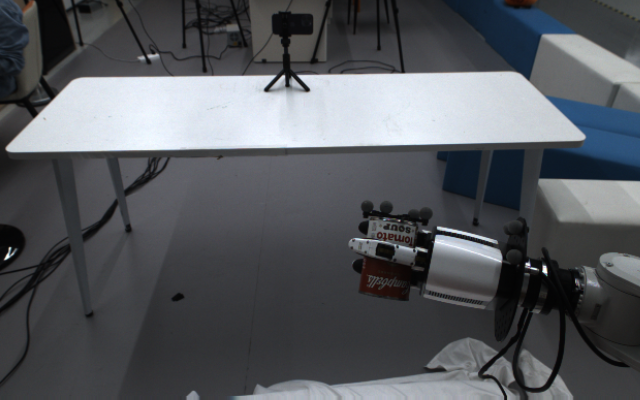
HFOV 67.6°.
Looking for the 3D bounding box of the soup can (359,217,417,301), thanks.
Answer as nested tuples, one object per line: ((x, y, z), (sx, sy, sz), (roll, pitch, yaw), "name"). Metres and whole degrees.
((0.093, 0.078, 0.643), (0.067, 0.101, 0.067), (9, -6, 1), "soup can")
